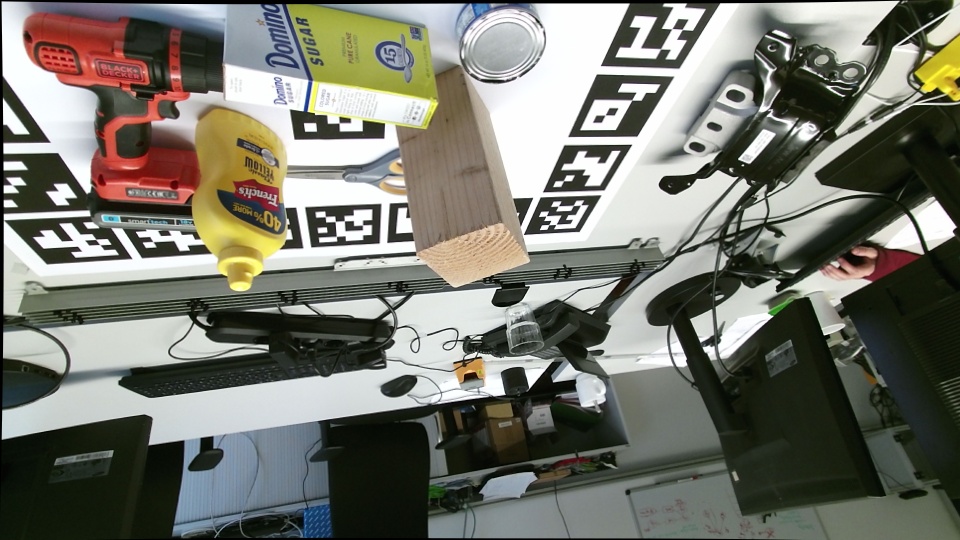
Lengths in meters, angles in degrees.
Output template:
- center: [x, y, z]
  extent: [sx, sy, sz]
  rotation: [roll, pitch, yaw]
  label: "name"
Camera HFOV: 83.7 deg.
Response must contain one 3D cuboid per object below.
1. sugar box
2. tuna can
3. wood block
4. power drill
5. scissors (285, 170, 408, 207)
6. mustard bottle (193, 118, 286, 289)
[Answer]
- center: [-0.138, -0.180, 0.481]
  extent: [0.177, 0.092, 0.045]
  rotation: [3, 149, -24]
  label: "sugar box"
- center: [0.019, -0.218, 0.530]
  extent: [0.086, 0.033, 0.086]
  rotation: [-10, 148, -6]
  label: "tuna can"
- center: [-0.025, -0.095, 0.571]
  extent: [0.091, 0.205, 0.090]
  rotation: [-20, 148, 10]
  label: "wood block"
- center: [-0.294, -0.134, 0.524]
  extent: [0.185, 0.057, 0.187]
  rotation: [3, 139, -26]
  label: "power drill"
- center: [-0.138, -0.104, 0.675]
  extent: [0.204, 0.016, 0.088]
  rotation: [-4, 152, -17]
  label: "scissors"
- center: [-0.245, -0.061, 0.549]
  extent: [0.058, 0.190, 0.096]
  rotation: [-27, 146, 19]
  label: "mustard bottle"
